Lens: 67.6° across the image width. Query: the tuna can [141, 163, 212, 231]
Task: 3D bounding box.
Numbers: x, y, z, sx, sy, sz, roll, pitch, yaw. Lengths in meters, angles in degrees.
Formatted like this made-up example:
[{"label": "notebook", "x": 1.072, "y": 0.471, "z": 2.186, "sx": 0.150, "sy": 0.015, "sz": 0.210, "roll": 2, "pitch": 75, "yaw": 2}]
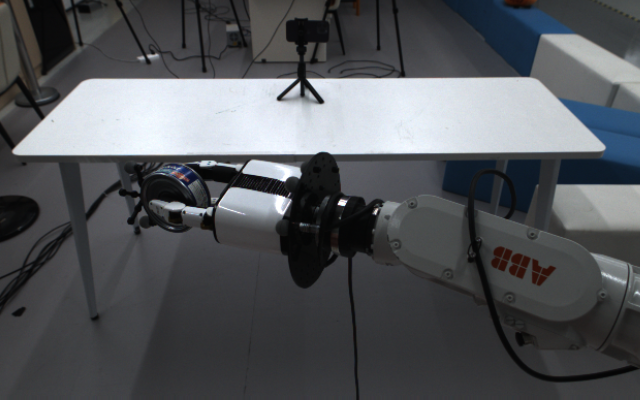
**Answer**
[{"label": "tuna can", "x": -0.183, "y": -0.003, "z": 0.620, "sx": 0.085, "sy": 0.085, "sz": 0.034, "roll": 12, "pitch": 29, "yaw": 14}]
